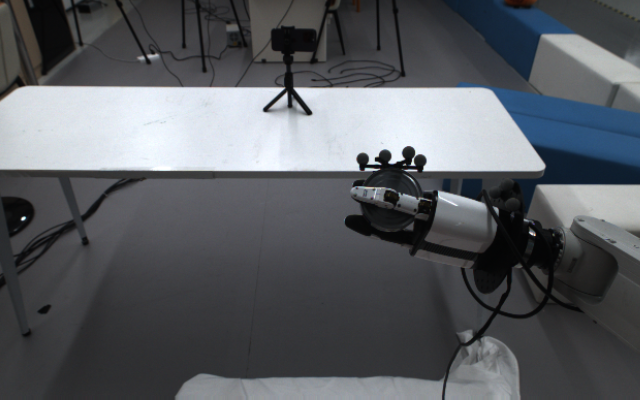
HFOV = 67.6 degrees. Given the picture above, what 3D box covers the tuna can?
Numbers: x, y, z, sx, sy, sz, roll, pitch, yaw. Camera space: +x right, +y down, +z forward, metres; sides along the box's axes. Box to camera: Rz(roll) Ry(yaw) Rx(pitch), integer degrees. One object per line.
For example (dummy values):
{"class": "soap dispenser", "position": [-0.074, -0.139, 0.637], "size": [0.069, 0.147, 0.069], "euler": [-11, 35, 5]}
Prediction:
{"class": "tuna can", "position": [0.097, -0.001, 0.665], "size": [0.085, 0.034, 0.085], "euler": [-1, 74, 4]}
